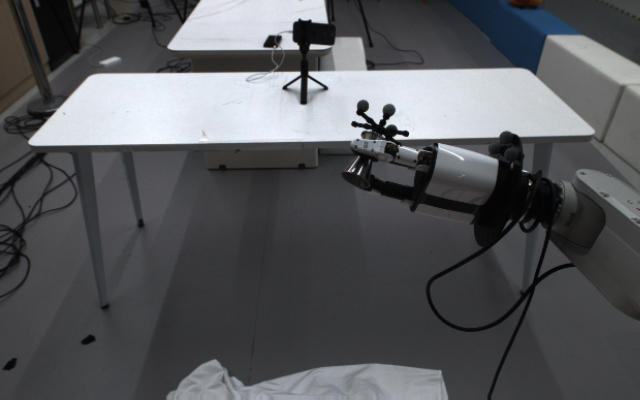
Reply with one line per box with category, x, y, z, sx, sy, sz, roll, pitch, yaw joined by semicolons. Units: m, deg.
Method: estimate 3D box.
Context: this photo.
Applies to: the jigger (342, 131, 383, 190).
jigger;0.061;-0.058;0.663;0.043;0.043;0.071;19;72;23
